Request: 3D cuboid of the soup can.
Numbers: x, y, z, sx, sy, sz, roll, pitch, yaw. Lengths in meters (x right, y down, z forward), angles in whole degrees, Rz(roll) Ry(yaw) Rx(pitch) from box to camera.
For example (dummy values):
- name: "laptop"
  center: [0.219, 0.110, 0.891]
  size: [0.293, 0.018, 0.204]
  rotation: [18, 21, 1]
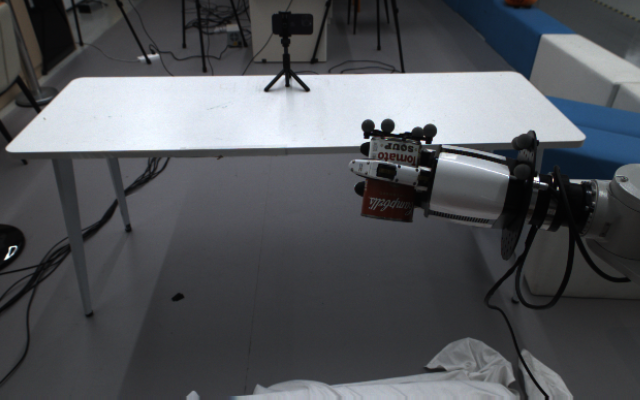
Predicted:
- name: "soup can"
  center: [0.093, -0.026, 0.620]
  size: [0.067, 0.101, 0.067]
  rotation: [7, 3, 0]
